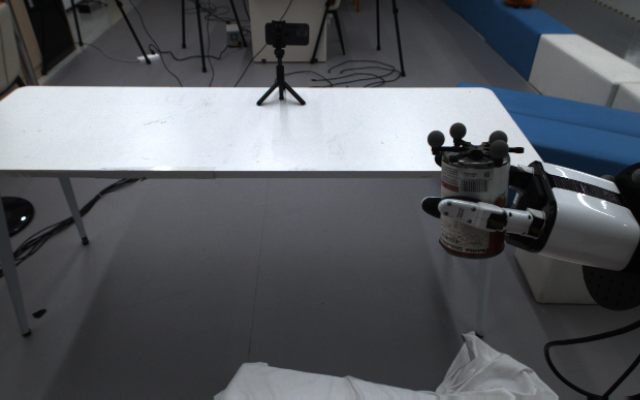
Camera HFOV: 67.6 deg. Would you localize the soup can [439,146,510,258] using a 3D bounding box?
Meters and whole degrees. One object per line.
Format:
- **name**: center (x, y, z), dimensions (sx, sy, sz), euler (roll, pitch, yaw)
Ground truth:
- **soup can**: center (0.163, 0.000, 0.509), dimensions (0.067, 0.101, 0.067), euler (-4, 21, 1)
